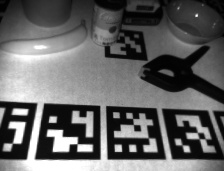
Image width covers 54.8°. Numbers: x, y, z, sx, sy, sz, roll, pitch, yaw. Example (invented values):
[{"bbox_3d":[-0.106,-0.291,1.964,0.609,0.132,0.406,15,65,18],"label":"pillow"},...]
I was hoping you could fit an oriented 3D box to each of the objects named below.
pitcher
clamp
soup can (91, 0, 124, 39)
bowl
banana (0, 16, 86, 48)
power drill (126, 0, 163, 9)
[{"bbox_3d":[-0.123,-0.264,0.444,0.190,0.243,0.132,-18,58,-21],"label":"pitcher"},{"bbox_3d":[0.153,-0.043,0.467,0.204,0.036,0.164,2,60,-10],"label":"clamp"},{"bbox_3d":[-0.012,-0.165,0.487,0.068,0.102,0.067,5,47,-5],"label":"soup can"},{"bbox_3d":[0.210,-0.172,0.561,0.162,0.055,0.161,5,57,-7],"label":"bowl"},{"bbox_3d":[-0.138,-0.113,0.467,0.199,0.039,0.073,-18,53,-23],"label":"banana"},{"bbox_3d":[0.111,-0.274,0.508,0.185,0.187,0.057,-1,57,-11],"label":"power drill"}]
